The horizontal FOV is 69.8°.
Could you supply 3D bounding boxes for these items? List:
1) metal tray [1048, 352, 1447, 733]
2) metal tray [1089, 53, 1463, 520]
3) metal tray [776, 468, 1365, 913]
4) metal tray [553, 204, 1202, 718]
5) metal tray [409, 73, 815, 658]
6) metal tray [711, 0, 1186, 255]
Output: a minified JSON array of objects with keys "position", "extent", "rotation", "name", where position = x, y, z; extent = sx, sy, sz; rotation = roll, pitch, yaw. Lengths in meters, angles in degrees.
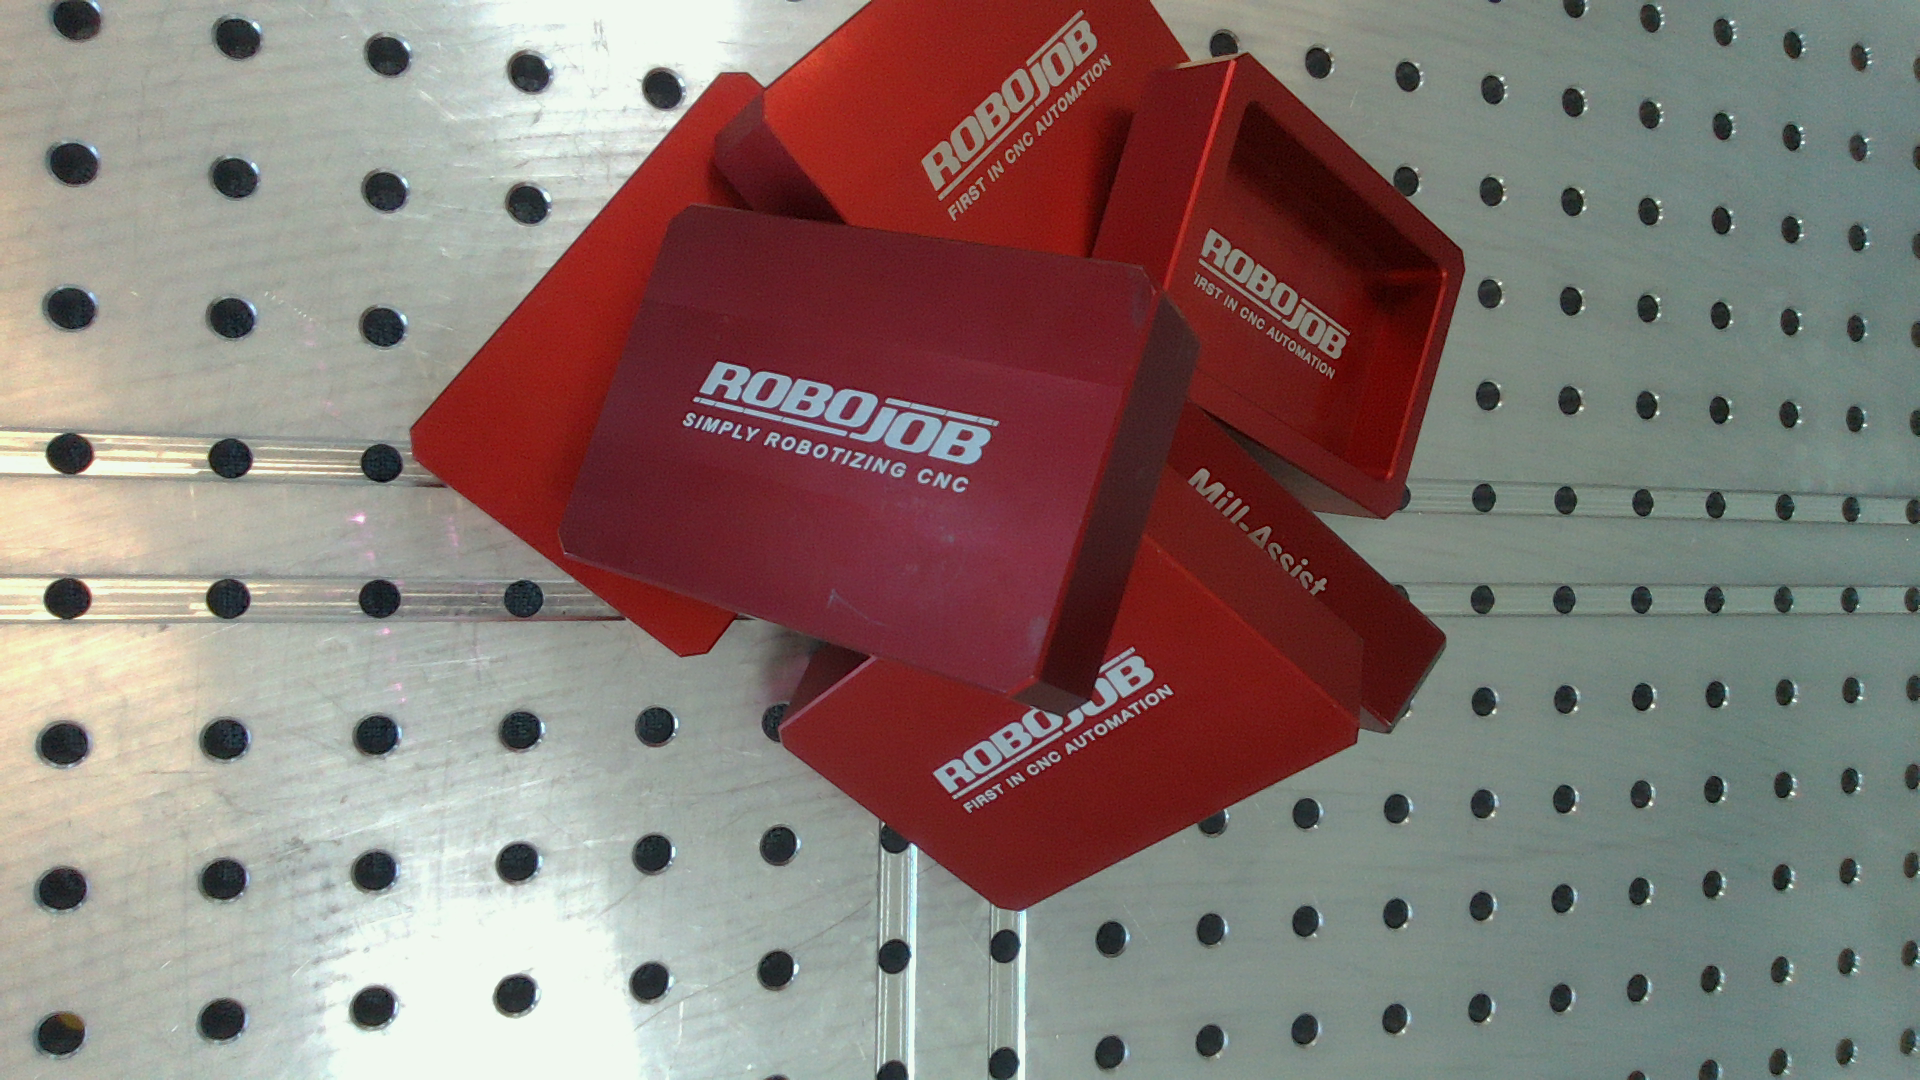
[{"position":[0.059,0.000,0.382],"extent":[0.130,0.090,0.030],"rotation":[40,77,-16],"name":"metal tray"},{"position":[0.093,-0.068,0.401],"extent":[0.130,0.030,0.090],"rotation":[22,82,-41],"name":"metal tray"},{"position":[0.025,0.040,0.354],"extent":[0.090,0.130,0.030],"rotation":[40,39,-15],"name":"metal tray"},{"position":[-0.022,-0.022,0.308],"extent":[0.030,0.130,0.090],"rotation":[30,77,-60],"name":"metal tray"},{"position":[-0.069,-0.046,0.368],"extent":[0.090,0.030,0.130],"rotation":[41,77,-16],"name":"metal tray"},{"position":[0.007,-0.112,0.376],"extent":[0.090,0.030,0.130],"rotation":[49,61,-17],"name":"metal tray"}]
